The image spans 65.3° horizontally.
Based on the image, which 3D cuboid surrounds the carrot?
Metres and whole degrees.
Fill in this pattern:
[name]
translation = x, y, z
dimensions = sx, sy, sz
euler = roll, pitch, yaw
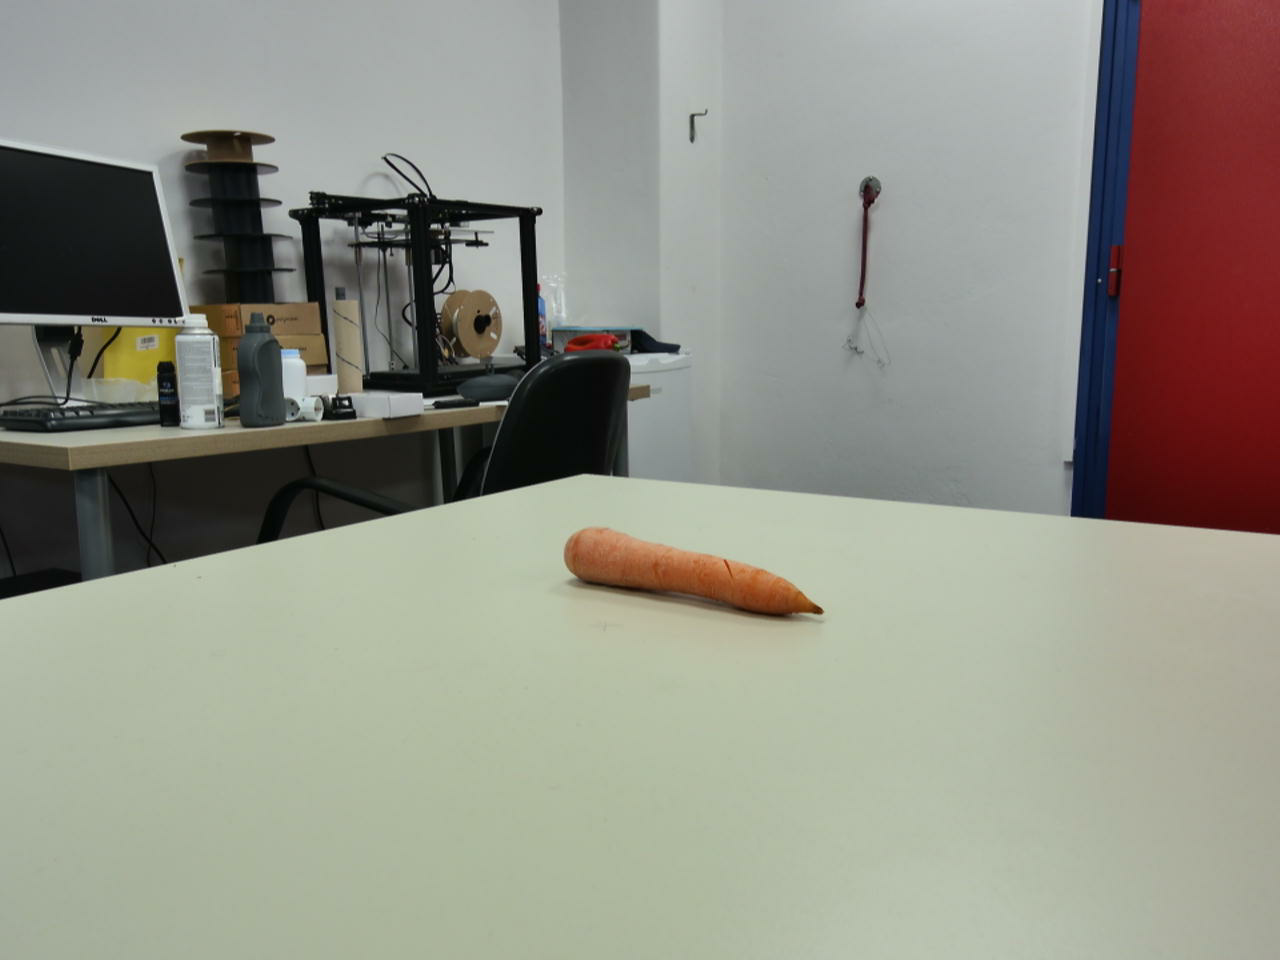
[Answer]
[carrot]
translation = 0.030, 0.058, 0.655
dimensions = 0.196, 0.041, 0.039
euler = 5, 9, 34
